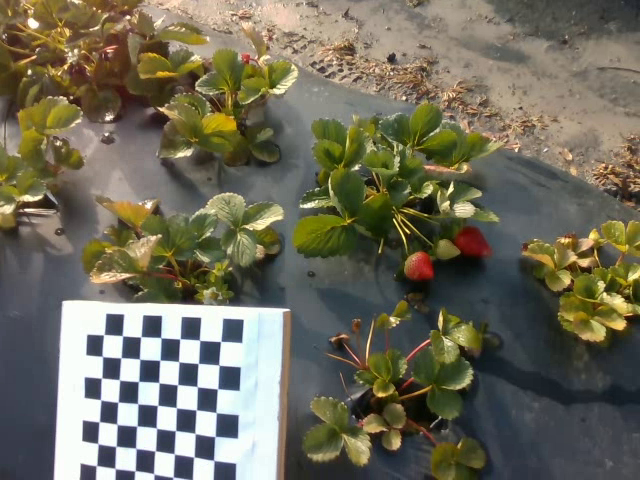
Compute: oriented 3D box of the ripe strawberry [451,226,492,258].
[{"bbox_3d":[0.223,0.005,0.876,0.064,0.049,0.050,44,12,21],"label":"ripe strawberry"}]
